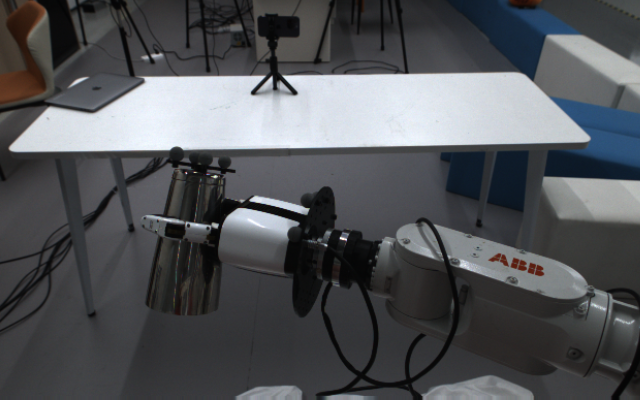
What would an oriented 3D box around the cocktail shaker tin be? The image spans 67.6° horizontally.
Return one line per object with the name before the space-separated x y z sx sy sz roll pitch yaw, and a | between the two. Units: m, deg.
cocktail shaker tin | -0.163 0.050 0.615 0.093 0.170 0.093 8 3 0
